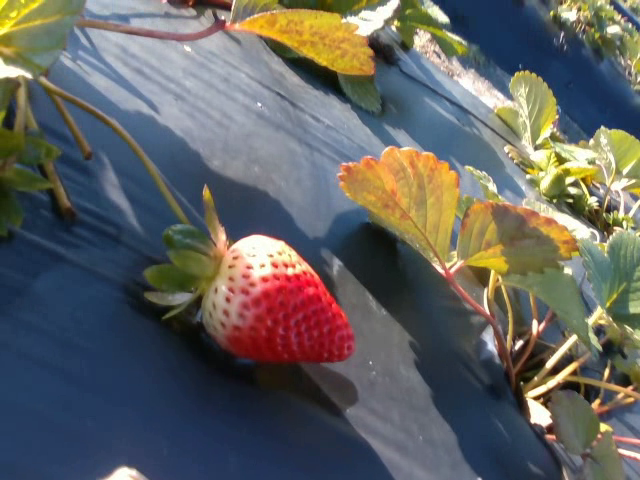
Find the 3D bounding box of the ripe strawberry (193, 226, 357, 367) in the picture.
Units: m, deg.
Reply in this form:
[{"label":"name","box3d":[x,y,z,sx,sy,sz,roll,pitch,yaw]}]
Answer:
[{"label":"ripe strawberry","box3d":[-0.009,0.021,0.192,0.063,0.045,0.043,30,-6,-6]}]
